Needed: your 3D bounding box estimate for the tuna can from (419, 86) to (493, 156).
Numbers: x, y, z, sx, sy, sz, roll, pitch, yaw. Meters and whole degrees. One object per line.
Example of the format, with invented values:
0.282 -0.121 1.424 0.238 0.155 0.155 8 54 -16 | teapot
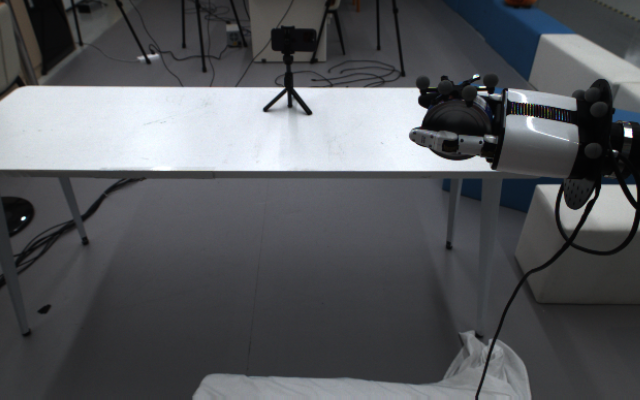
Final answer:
0.176 -0.098 0.619 0.085 0.085 0.034 14 41 16 | tuna can
